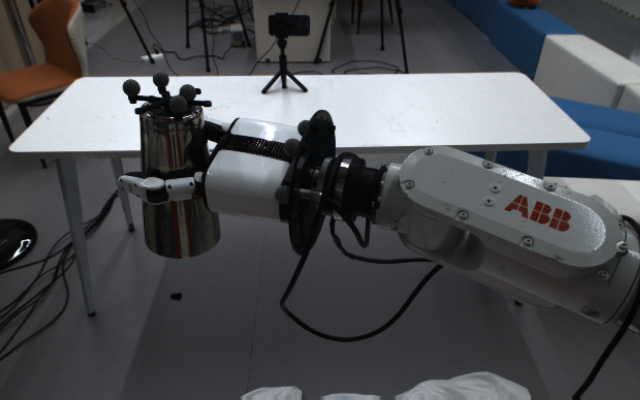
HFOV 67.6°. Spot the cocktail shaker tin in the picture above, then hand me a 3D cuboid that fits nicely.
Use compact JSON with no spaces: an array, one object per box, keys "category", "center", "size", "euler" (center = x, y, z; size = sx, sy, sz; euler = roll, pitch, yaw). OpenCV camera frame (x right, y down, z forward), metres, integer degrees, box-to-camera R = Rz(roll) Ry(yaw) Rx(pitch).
[{"category":"cocktail shaker tin","center":[-0.165,-0.027,0.564],"size":[0.093,0.170,0.093],"euler":[3,32,-2]}]
